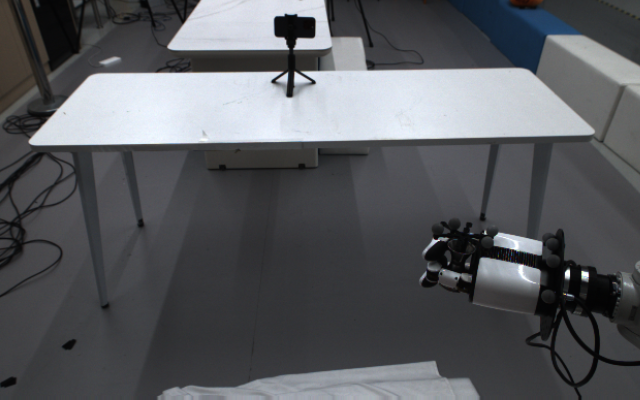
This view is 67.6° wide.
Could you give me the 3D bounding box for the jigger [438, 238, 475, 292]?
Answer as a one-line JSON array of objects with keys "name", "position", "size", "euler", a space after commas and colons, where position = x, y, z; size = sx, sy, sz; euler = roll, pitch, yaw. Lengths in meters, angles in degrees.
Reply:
[{"name": "jigger", "position": [0.208, 0.096, 0.725], "size": [0.043, 0.071, 0.043], "euler": [3, 25, -1]}]
